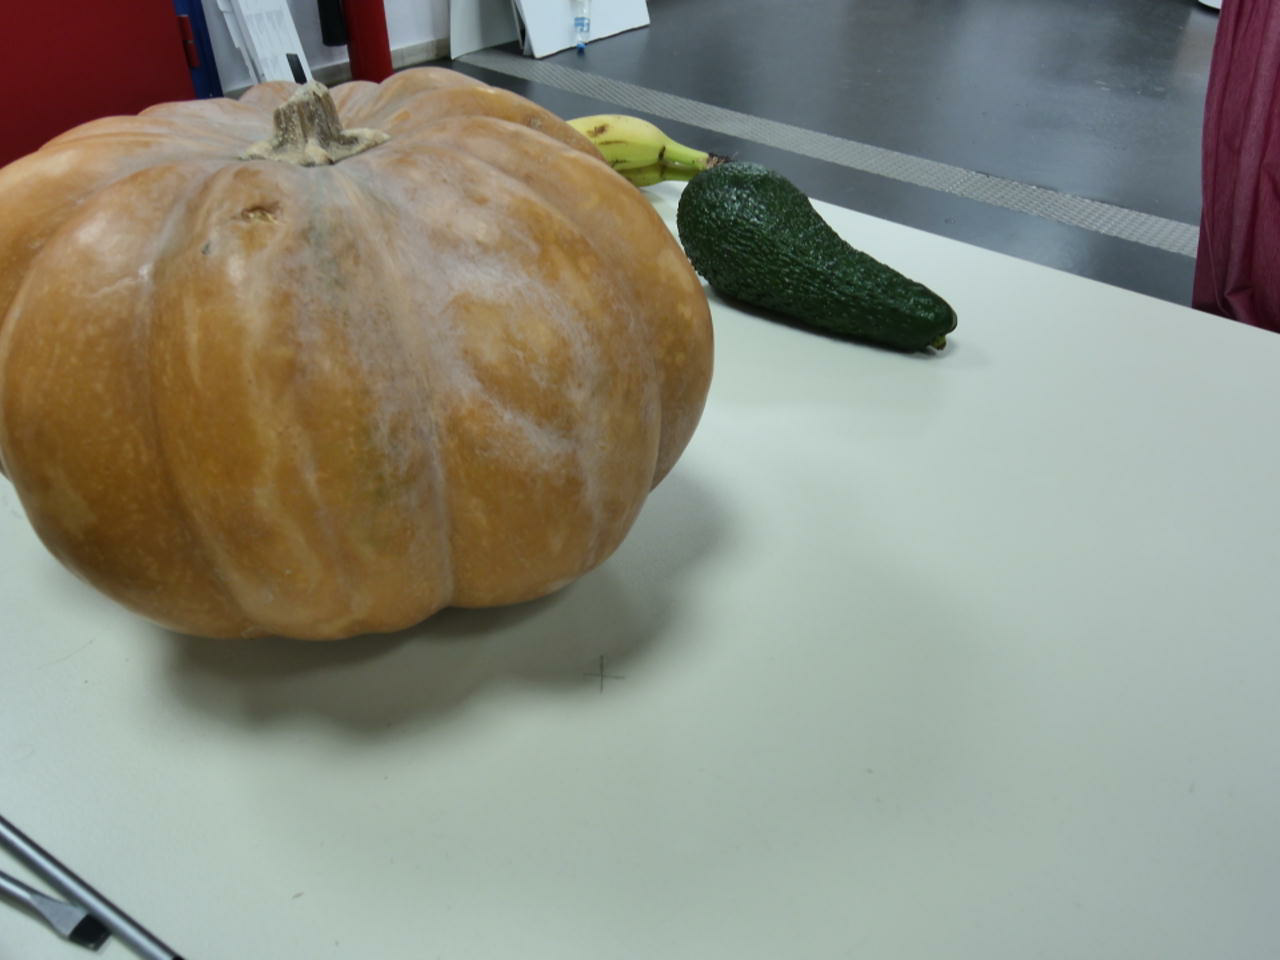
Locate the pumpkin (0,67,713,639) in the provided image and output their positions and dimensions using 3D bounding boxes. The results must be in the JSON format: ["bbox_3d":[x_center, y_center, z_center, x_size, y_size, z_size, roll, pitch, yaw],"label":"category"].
[{"bbox_3d":[-0.110,-0.054,0.382,0.277,0.181,0.277,0,36,0],"label":"pumpkin"}]
